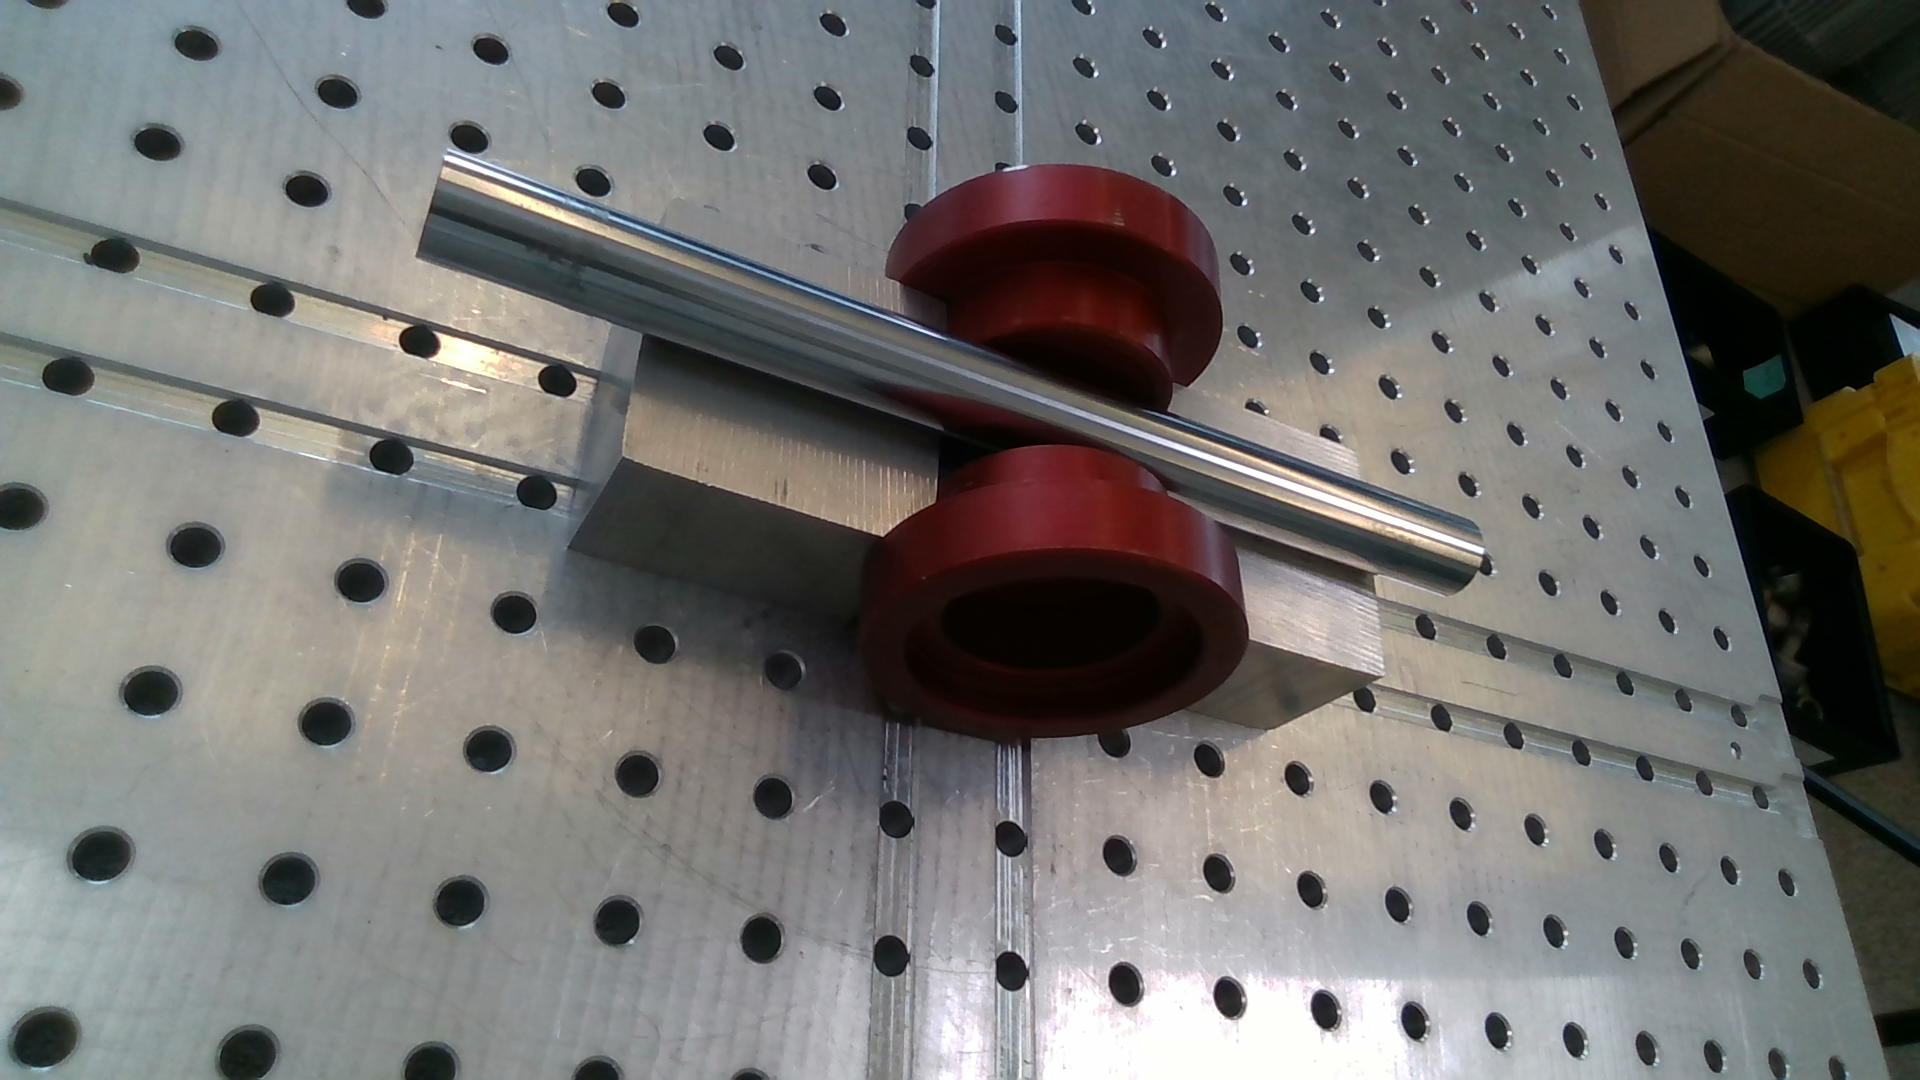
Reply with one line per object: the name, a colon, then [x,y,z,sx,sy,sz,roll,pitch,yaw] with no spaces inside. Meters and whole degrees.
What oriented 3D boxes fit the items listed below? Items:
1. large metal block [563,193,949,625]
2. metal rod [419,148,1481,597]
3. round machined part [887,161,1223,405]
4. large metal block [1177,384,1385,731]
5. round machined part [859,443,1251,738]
large metal block: [-0.052,-0.032,0.365,0.080,0.050,0.080,17,58,-23]
metal rod: [0.017,-0.034,0.360,0.300,0.025,0.025,17,58,-24]
round machined part: [0.026,-0.058,0.395,0.098,0.098,0.042,16,58,-24]
large metal block: [0.078,0.006,0.425,0.080,0.050,0.080,16,58,-24]
round machined part: [0.023,0.012,0.357,0.098,0.098,0.042,16,53,-24]
